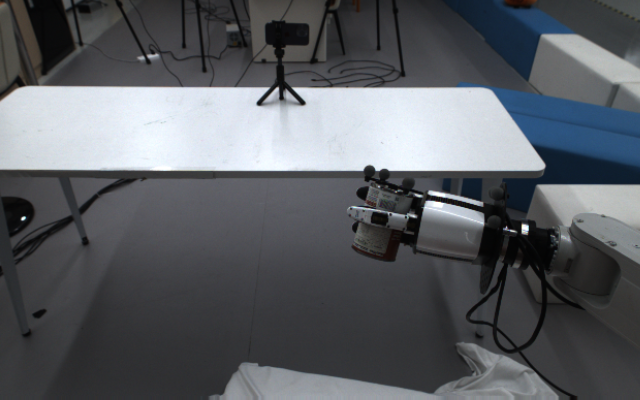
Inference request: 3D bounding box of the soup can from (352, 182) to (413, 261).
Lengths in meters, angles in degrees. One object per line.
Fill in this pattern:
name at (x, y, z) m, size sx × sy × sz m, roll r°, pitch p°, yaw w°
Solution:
soup can at (0.093, 0.031, 0.712) m, size 0.067 × 0.101 × 0.067 m, roll 15°, pitch 7°, yaw -2°
